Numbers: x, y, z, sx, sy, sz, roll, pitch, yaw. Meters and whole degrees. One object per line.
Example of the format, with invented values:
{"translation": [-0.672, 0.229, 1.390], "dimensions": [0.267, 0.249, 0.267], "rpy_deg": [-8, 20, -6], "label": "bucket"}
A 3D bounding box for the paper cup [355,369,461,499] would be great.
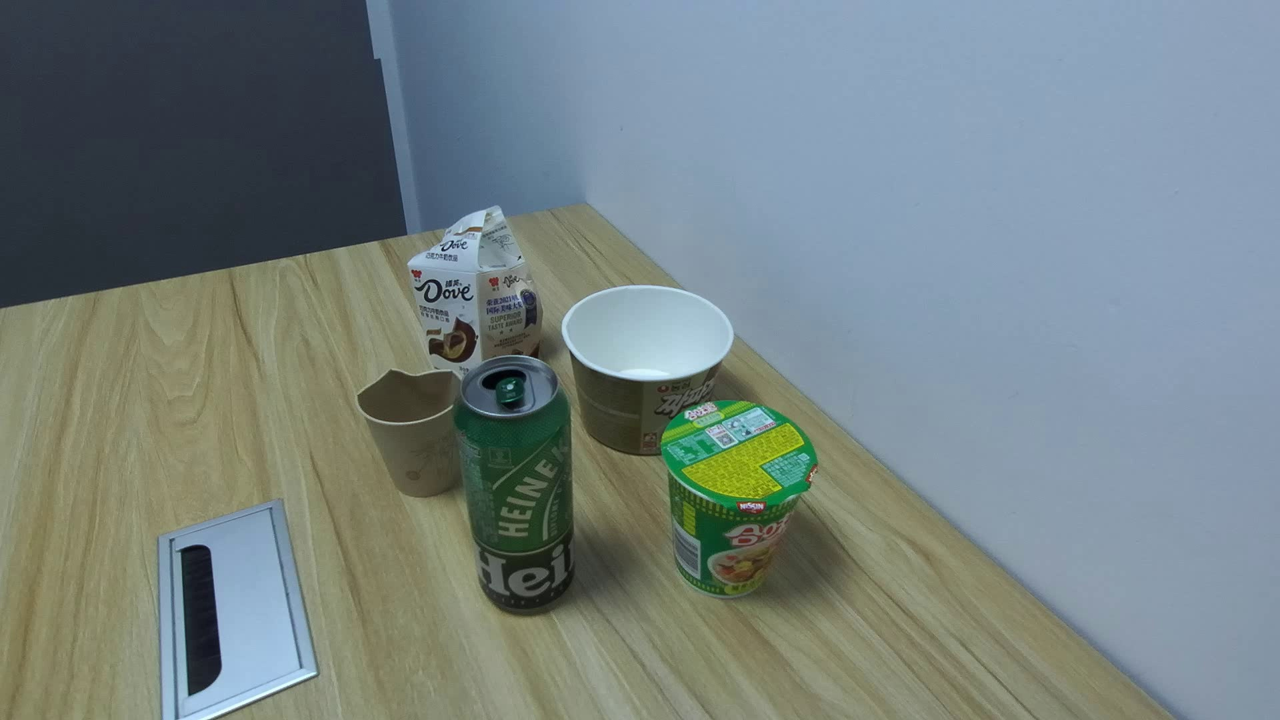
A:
{"translation": [-0.169, 0.059, 0.547], "dimensions": [0.068, 0.081, 0.073], "rpy_deg": [21, 39, 23], "label": "paper cup"}

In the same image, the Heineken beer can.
{"translation": [-0.075, 0.082, 0.441], "dimensions": [0.067, 0.169, 0.067], "rpy_deg": [1, 36, -1], "label": "Heineken beer can"}

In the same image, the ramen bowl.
{"translation": [0.006, 0.011, 0.606], "dimensions": [0.140, 0.095, 0.140], "rpy_deg": [2, 38, -1], "label": "ramen bowl"}

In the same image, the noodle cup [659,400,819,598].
{"translation": [0.060, 0.100, 0.475], "dimensions": [0.097, 0.110, 0.097], "rpy_deg": [3, 37, -2], "label": "noodle cup"}

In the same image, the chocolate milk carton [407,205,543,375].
{"translation": [-0.151, -0.059, 0.650], "dimensions": [0.089, 0.156, 0.077], "rpy_deg": [10, 31, 33], "label": "chocolate milk carton"}
